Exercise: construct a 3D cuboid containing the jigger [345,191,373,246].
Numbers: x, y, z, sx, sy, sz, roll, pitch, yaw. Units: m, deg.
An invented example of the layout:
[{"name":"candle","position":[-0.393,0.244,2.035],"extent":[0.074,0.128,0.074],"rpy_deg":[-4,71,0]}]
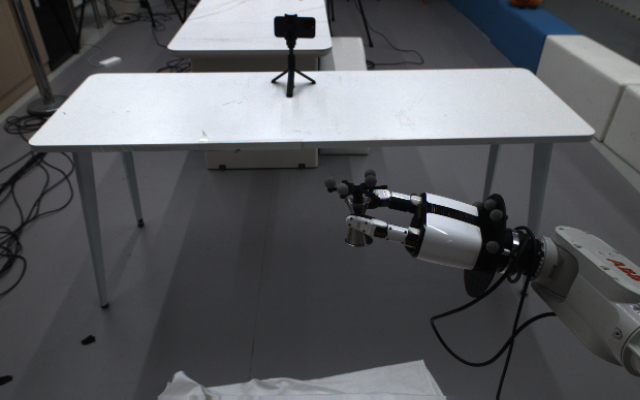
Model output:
[{"name":"jigger","position":[0.058,0.030,0.732],"extent":[0.043,0.071,0.043],"rpy_deg":[-2,19,1]}]
